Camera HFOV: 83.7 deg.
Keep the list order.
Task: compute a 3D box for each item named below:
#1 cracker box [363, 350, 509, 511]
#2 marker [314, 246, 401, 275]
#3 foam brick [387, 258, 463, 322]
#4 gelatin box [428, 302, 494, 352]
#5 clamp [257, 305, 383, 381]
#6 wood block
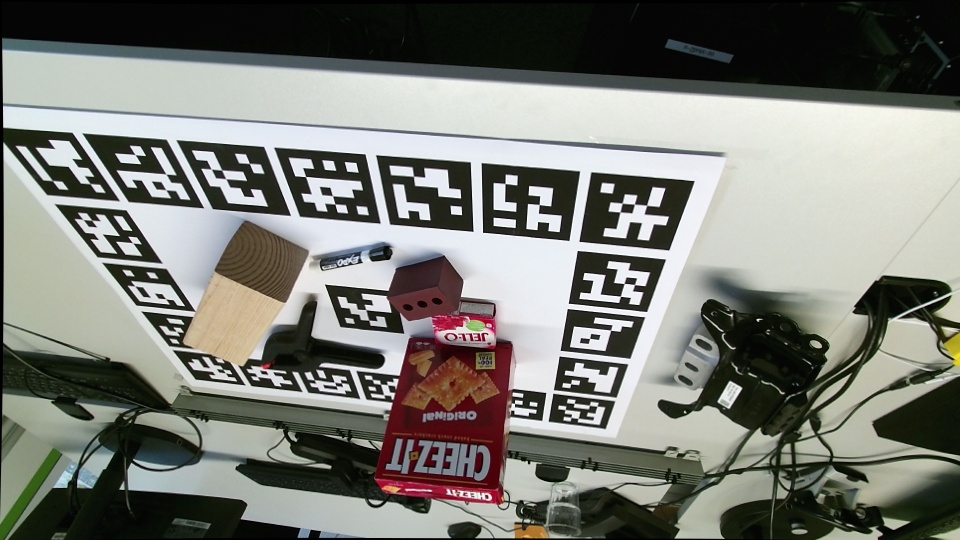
[{"bbox_3d":[-0.052,0.218,0.753,0.165,0.212,0.072,3,136,10],"label":"cracker box"},{"bbox_3d":[-0.156,-0.012,0.682,0.121,0.019,0.020,-10,130,19],"label":"marker"},{"bbox_3d":[-0.069,0.028,0.685,0.078,0.051,0.053,-14,129,23],"label":"foam brick"},{"bbox_3d":[-0.026,0.079,0.749,0.090,0.030,0.073,4,134,6],"label":"gelatin box"},{"bbox_3d":[-0.279,0.135,0.843,0.203,0.036,0.166,-19,128,26],"label":"clamp"},{"bbox_3d":[-0.321,0.042,0.724,0.090,0.090,0.206,28,136,-21],"label":"wood block"}]
